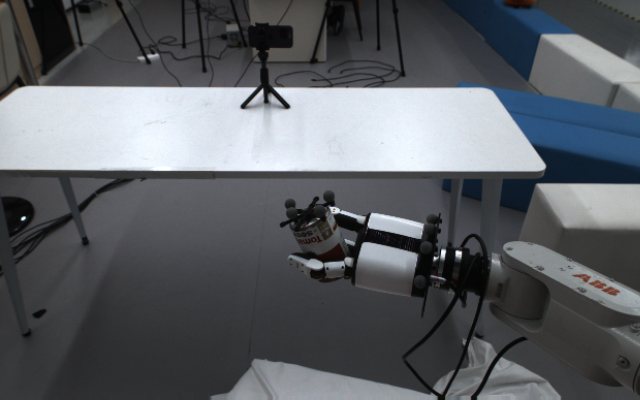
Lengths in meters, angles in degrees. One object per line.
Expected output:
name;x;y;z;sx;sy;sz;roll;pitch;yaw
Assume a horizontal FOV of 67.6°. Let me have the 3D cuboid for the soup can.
soup can;0.005;0.065;0.736;0.067;0.101;0.067;-22;24;10
